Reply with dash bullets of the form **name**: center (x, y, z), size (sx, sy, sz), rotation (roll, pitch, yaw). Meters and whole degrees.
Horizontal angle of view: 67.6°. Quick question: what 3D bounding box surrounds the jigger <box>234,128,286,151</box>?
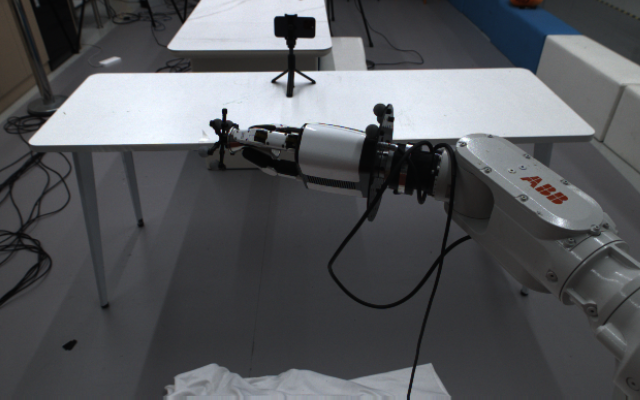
- **jigger**: center (-0.089, -0.088, 0.698), size (0.071, 0.043, 0.043), rotation (7, 35, 15)
